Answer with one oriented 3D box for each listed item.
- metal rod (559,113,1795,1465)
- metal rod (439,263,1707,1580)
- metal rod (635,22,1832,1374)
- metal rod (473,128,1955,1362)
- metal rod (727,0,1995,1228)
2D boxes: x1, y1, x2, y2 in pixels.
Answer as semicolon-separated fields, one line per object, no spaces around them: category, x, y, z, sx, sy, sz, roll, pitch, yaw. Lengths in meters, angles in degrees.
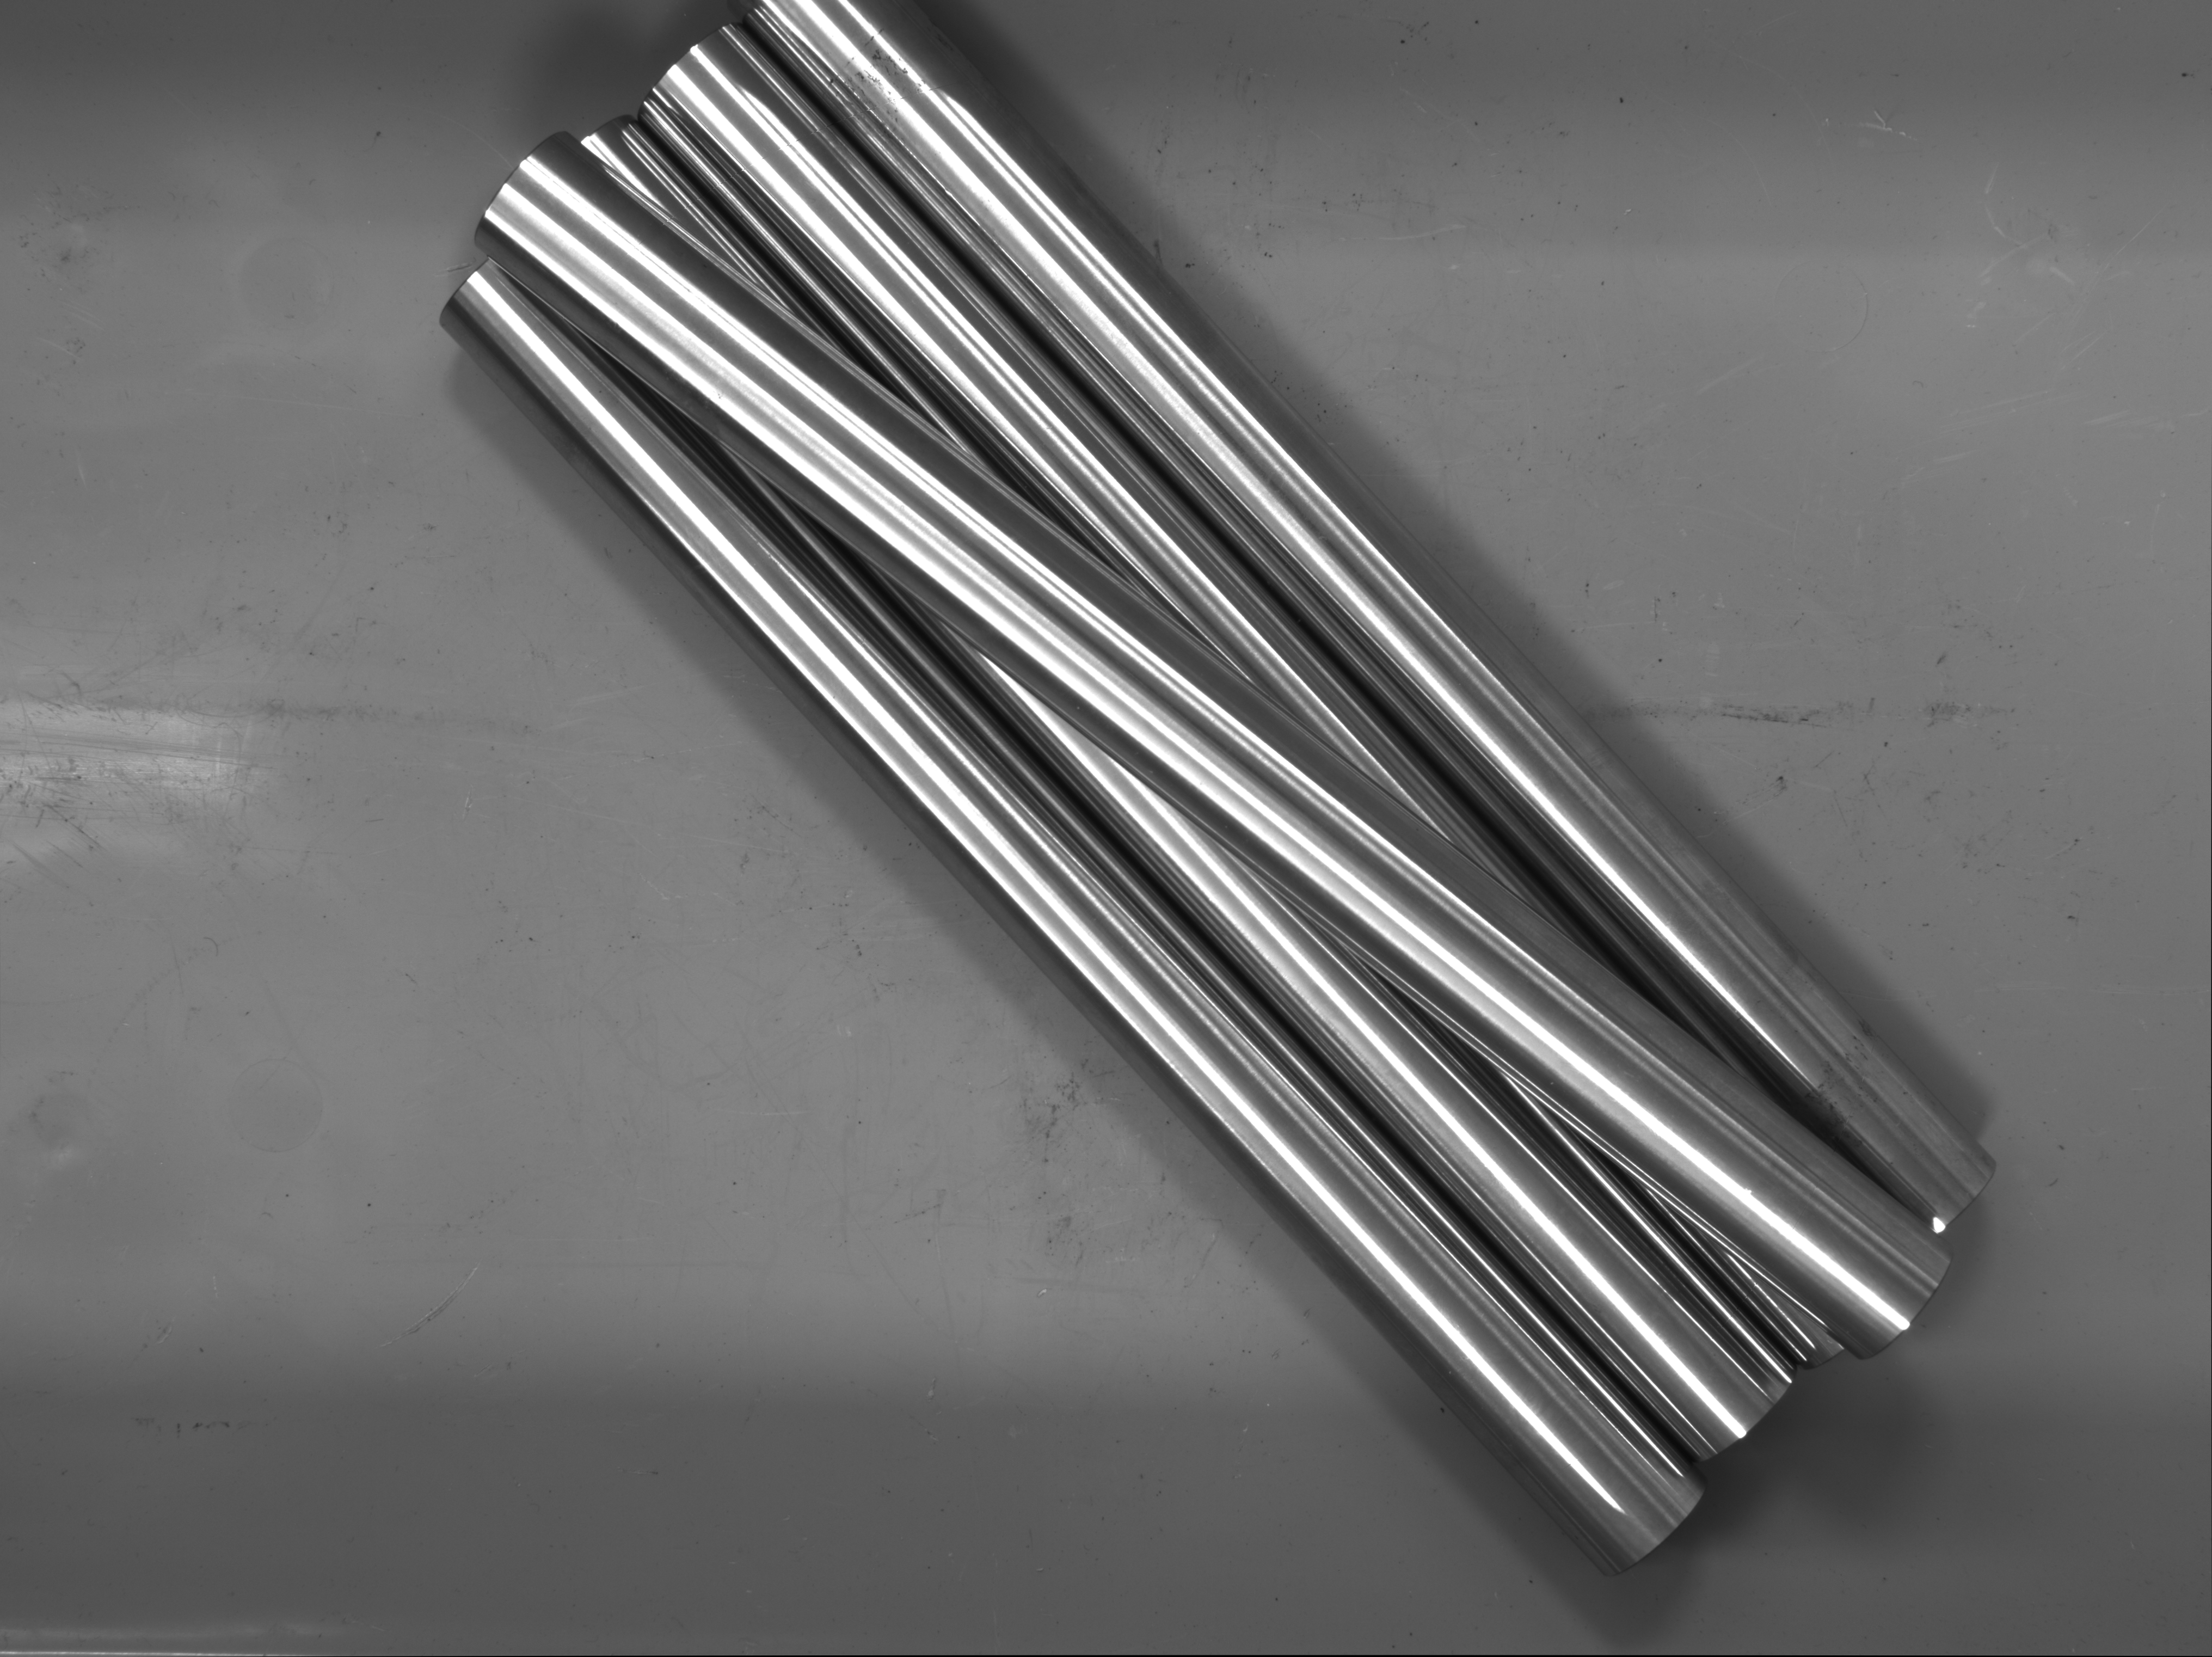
metal rod;0.010;-0.007;0.644;0.025;0.025;0.300;-43;90;0
metal rod;-0.006;0.013;0.644;0.025;0.025;0.300;-43;90;0
metal rod;0.028;-0.023;0.644;0.025;0.025;0.300;-43;90;0
metal rod;0.018;-0.014;0.619;0.300;0.025;0.025;39;90;0
metal rod;0.045;-0.043;0.644;0.025;0.025;0.300;-43;90;0
